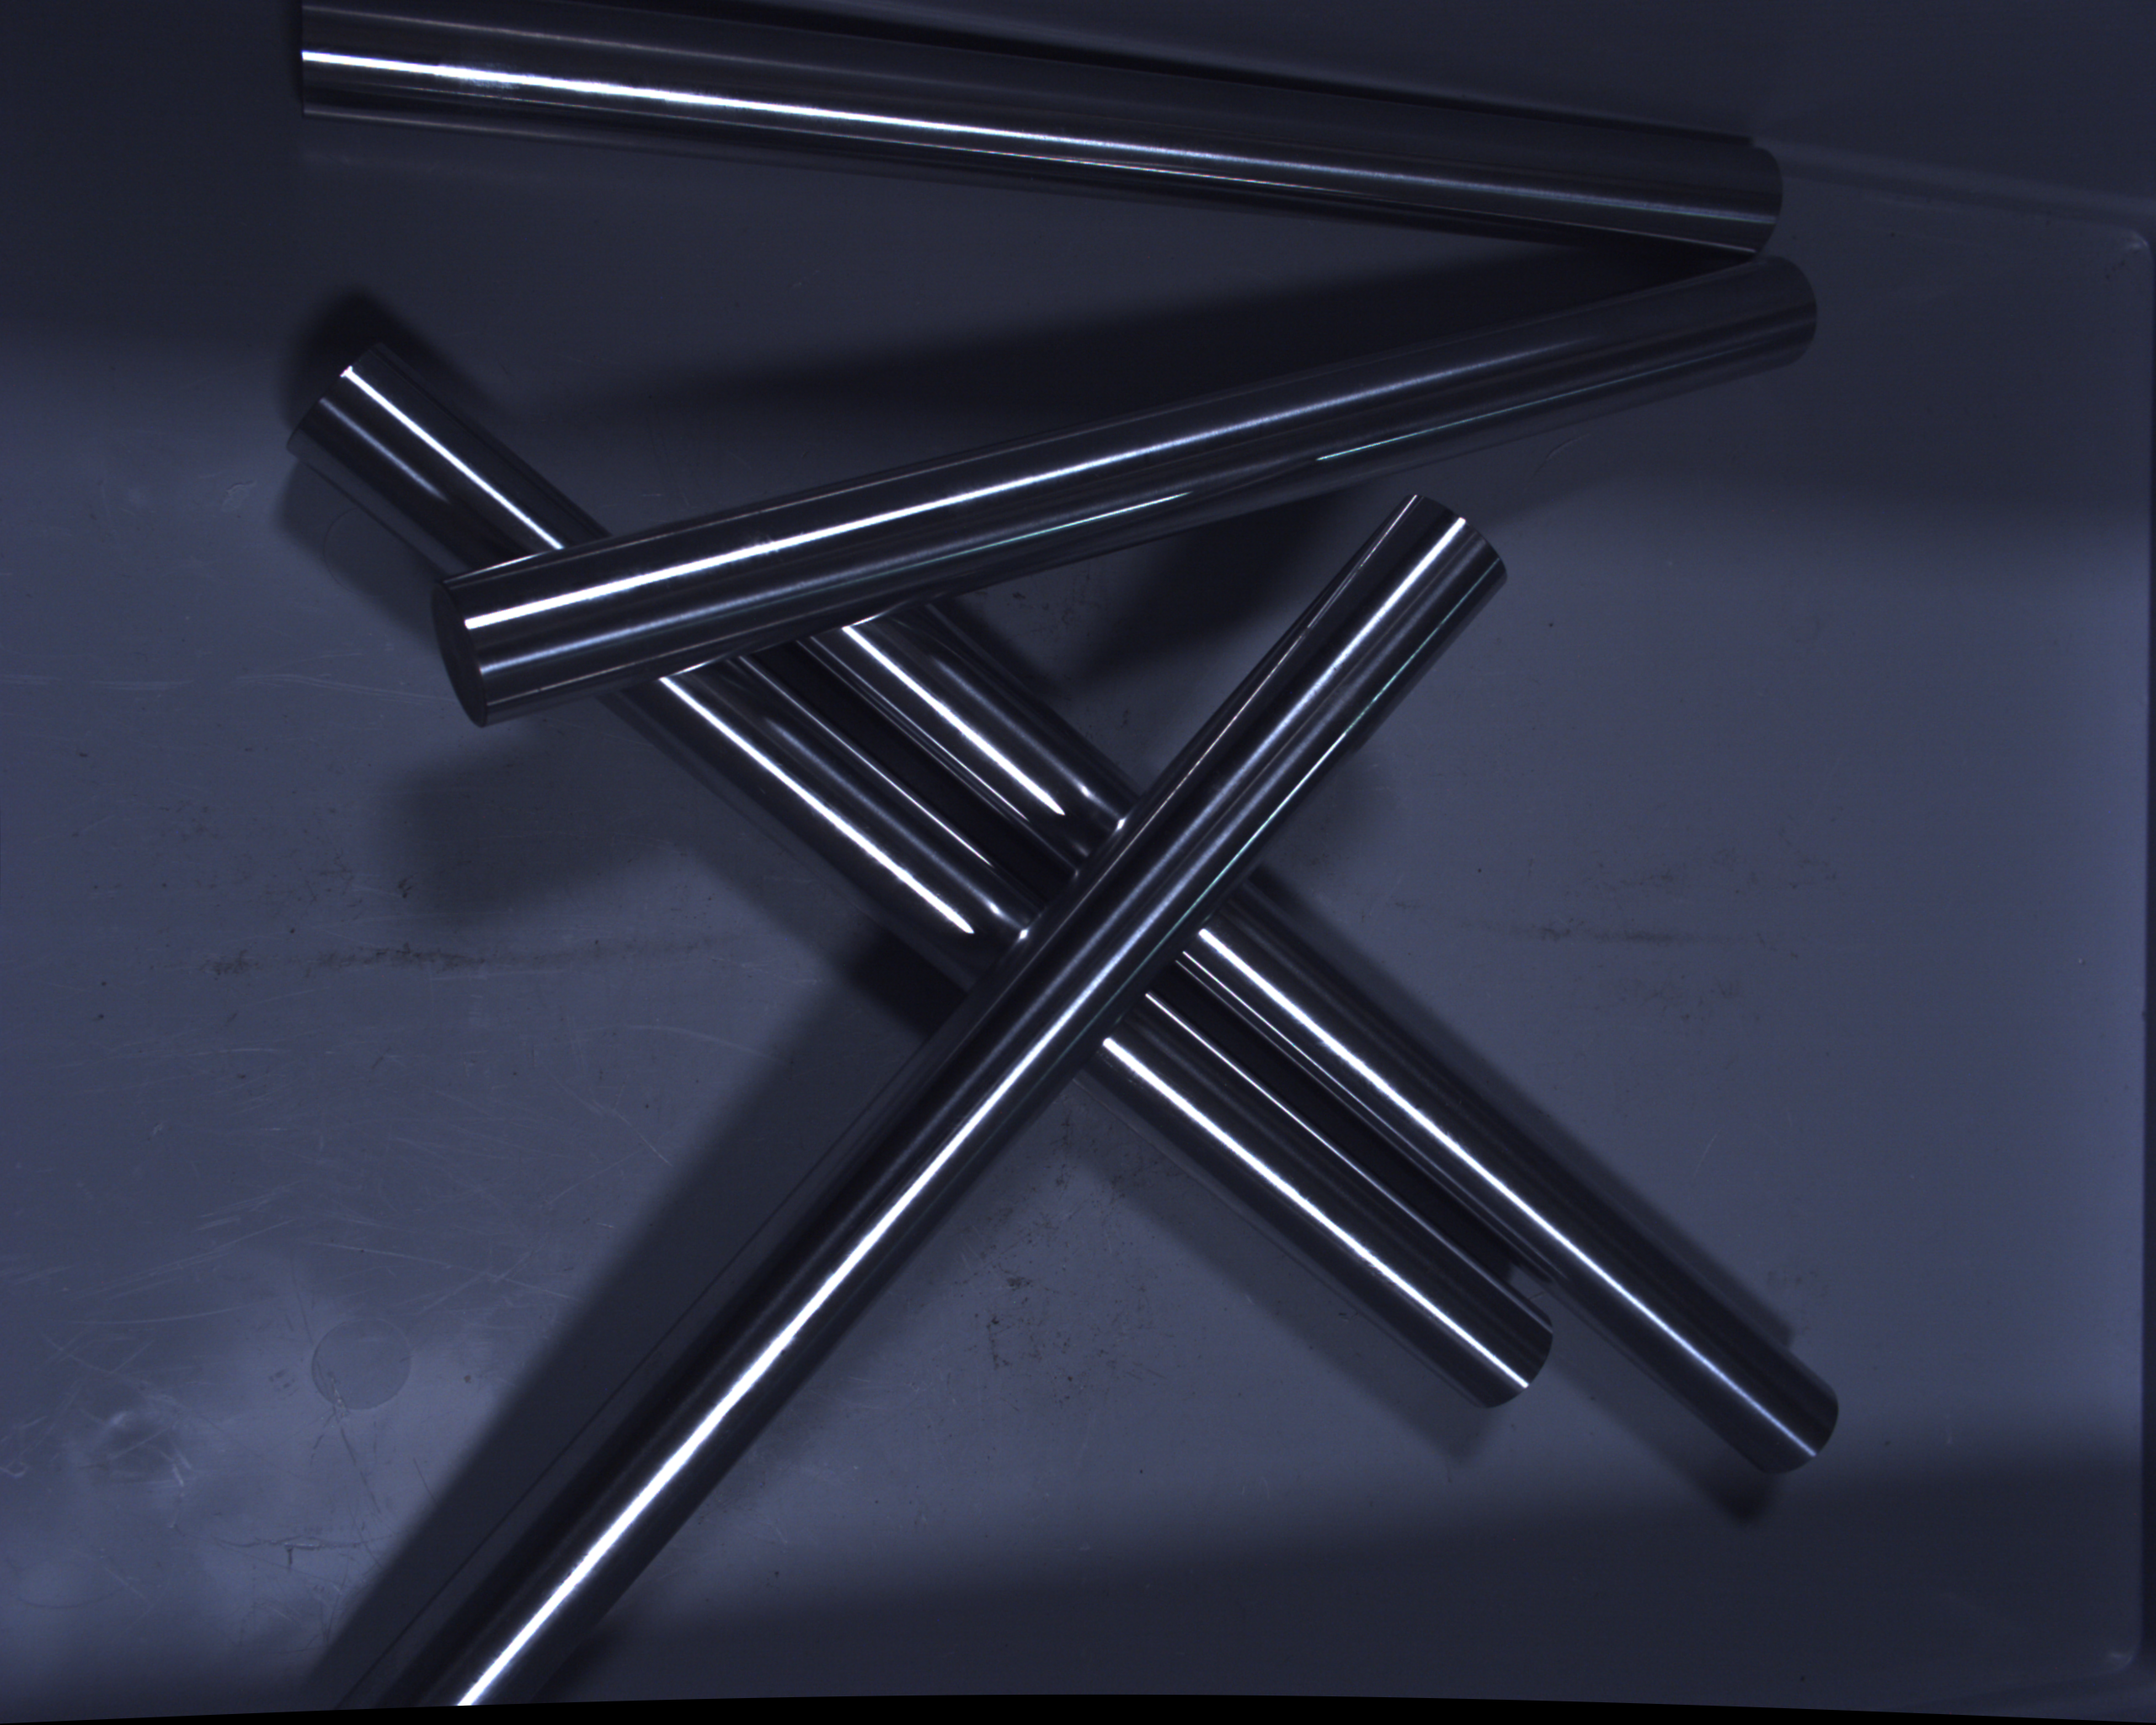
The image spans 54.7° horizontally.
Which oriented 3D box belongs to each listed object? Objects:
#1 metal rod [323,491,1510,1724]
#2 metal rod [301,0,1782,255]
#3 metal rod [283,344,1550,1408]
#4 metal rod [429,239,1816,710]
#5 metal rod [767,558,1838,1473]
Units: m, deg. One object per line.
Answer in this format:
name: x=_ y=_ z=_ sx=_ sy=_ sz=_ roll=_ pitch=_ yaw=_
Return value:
metal rod: x=-0.027 y=0.050 z=0.379 sx=0.025 sy=0.025 sz=0.300 roll=43 pitch=84 yaw=-16
metal rod: x=0.007 y=-0.145 z=0.413 sx=0.303 sy=0.025 sz=0.025 roll=-1 pitch=91 yaw=-21
metal rod: x=-0.019 y=0.012 z=0.404 sx=0.300 sy=0.025 sz=0.025 roll=40 pitch=77 yaw=-16
metal rod: x=0.027 y=-0.082 z=0.404 sx=0.302 sy=0.025 sz=0.025 roll=-19 pitch=97 yaw=-25
metal rod: x=0.051 y=0.034 z=0.430 sx=0.300 sy=0.025 sz=0.025 roll=40 pitch=77 yaw=-16
